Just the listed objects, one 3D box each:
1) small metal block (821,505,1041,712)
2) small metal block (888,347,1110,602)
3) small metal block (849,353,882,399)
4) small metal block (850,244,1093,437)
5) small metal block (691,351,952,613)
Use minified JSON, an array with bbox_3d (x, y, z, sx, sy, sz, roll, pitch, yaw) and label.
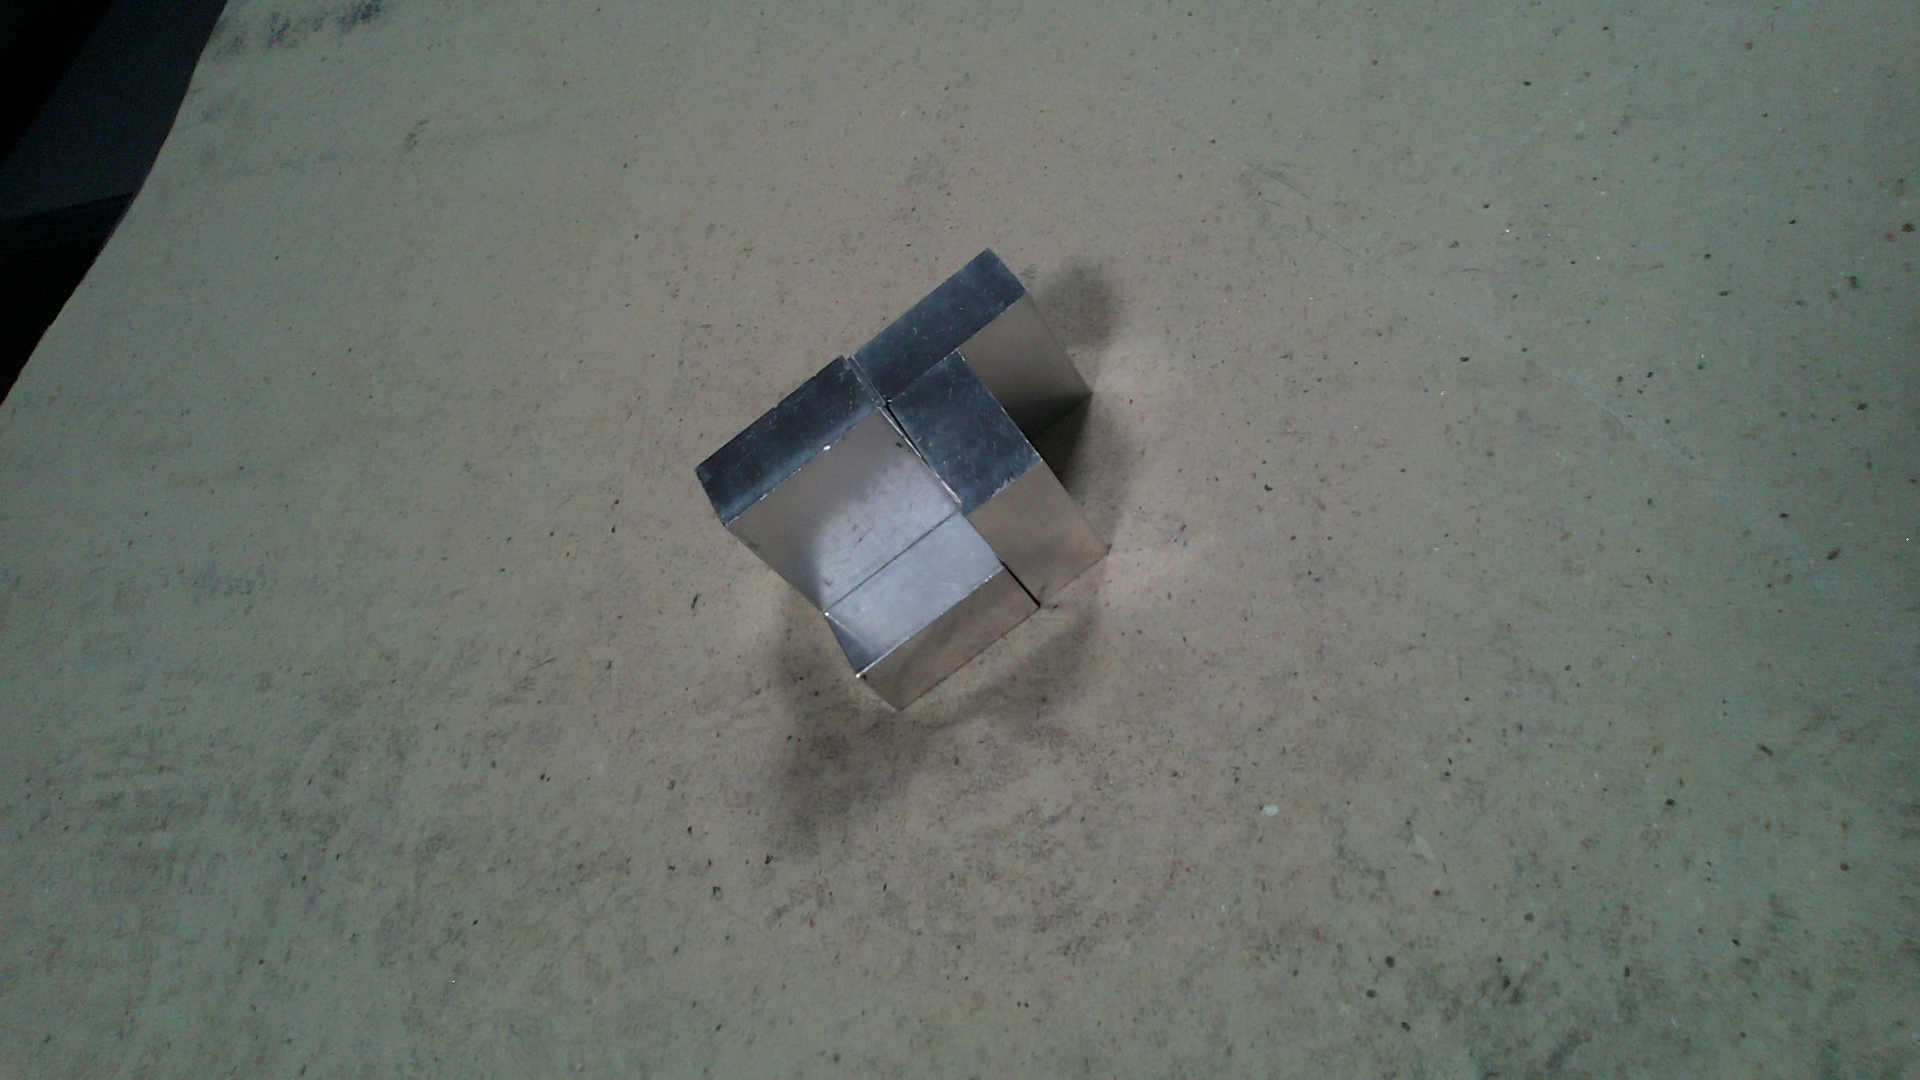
[{"bbox_3d":[-0.013,0.012,0.394,0.050,0.025,0.050,-37,51,4],"label":"small metal block"},{"bbox_3d":[0.011,-0.018,0.383,0.025,0.050,0.050,-37,51,4],"label":"small metal block"},{"bbox_3d":[-0.035,-0.019,0.408,0.050,0.050,0.025,-38,51,3],"label":"small metal block"},{"bbox_3d":[0.004,-0.049,0.406,0.050,0.050,0.025,-38,51,3],"label":"small metal block"},{"bbox_3d":[-0.035,-0.014,0.373,0.050,0.050,0.025,-38,51,3],"label":"small metal block"}]
